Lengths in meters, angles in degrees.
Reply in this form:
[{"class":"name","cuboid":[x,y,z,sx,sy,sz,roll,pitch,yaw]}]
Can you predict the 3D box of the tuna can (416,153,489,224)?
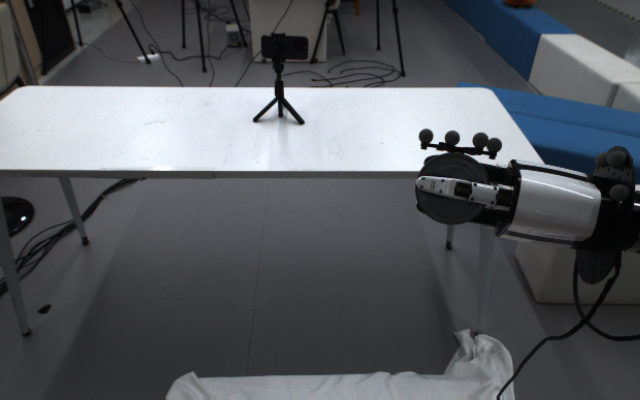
[{"class":"tuna can","cuboid":[0.161,-0.018,0.585,0.085,0.085,0.034,10,3,12]}]
